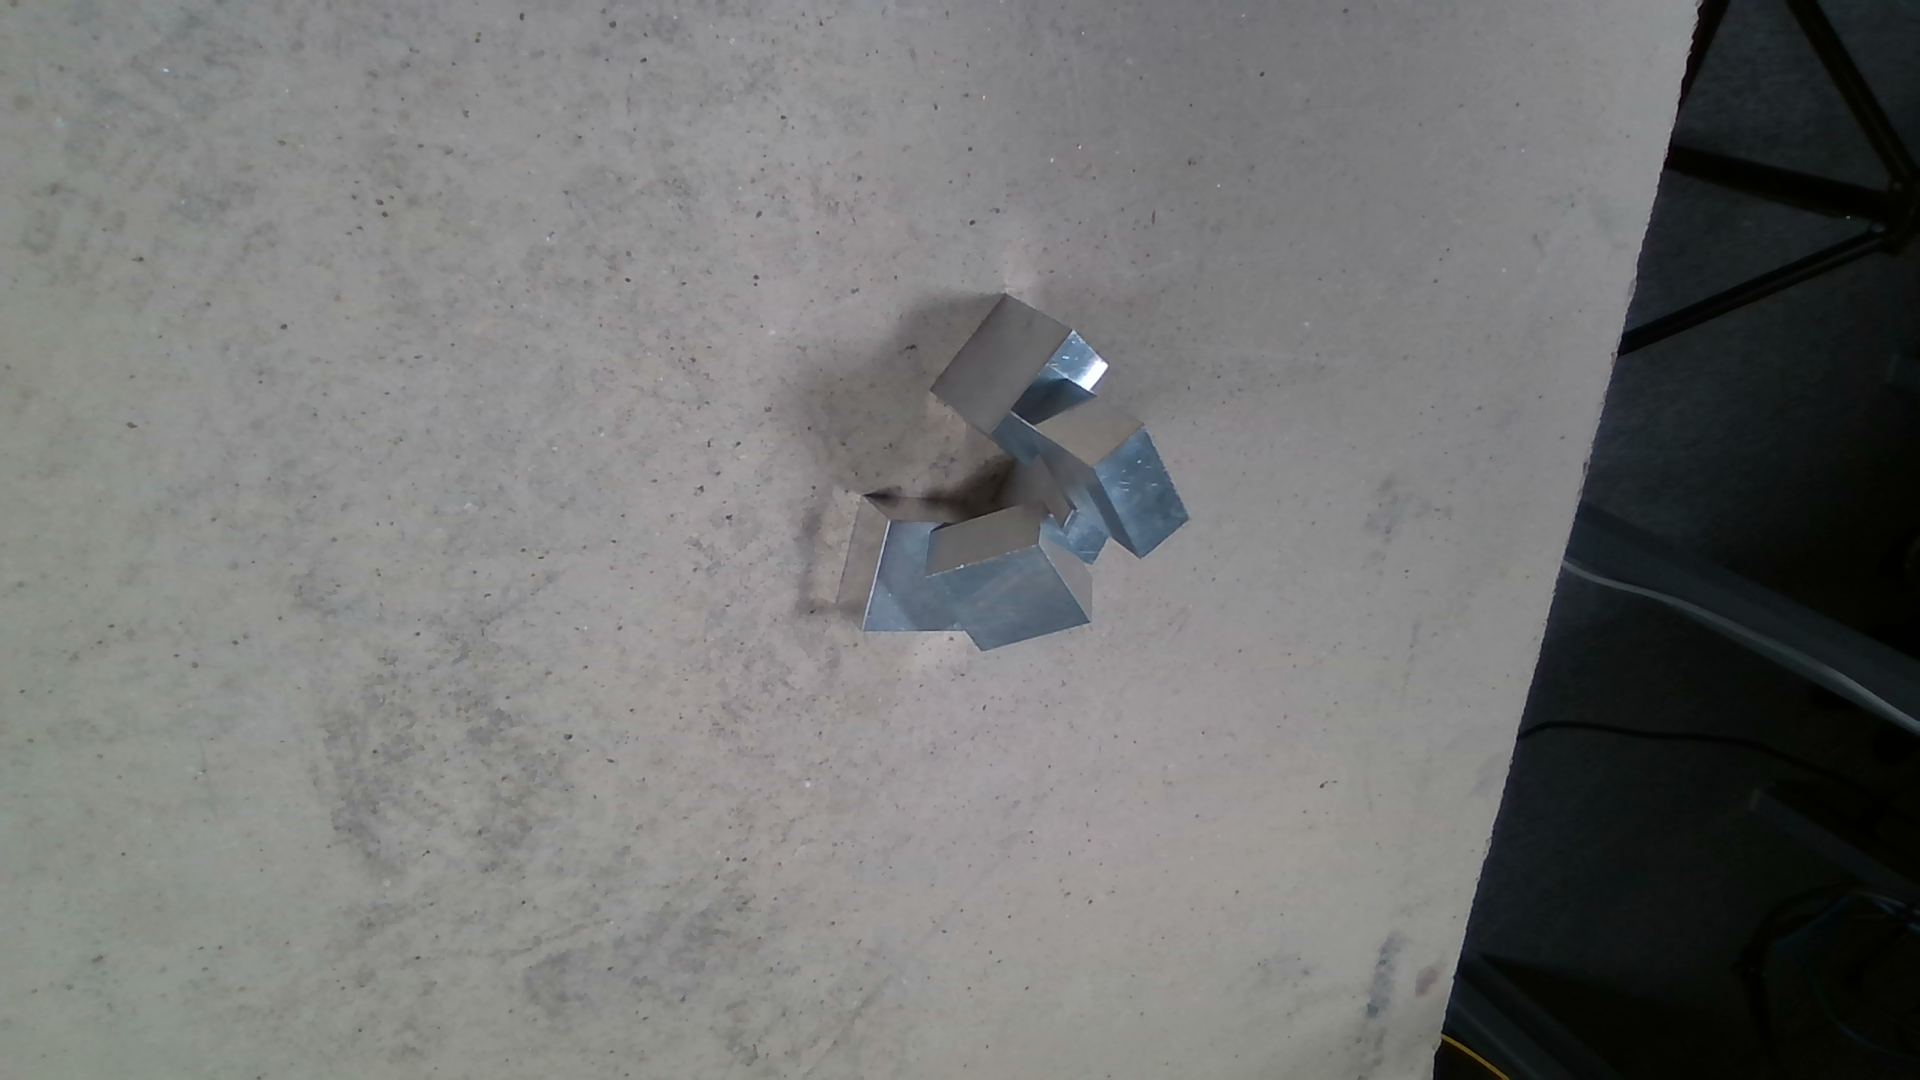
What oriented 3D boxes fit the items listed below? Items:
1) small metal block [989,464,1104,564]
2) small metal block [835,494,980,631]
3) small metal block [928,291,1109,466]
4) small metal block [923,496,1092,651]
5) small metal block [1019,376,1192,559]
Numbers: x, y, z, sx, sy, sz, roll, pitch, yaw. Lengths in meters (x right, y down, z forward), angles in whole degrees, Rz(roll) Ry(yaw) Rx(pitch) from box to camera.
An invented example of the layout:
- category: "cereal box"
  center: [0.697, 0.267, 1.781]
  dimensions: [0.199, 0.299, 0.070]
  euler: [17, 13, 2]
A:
- category: "small metal block"
  center: [0.046, -0.025, 0.579]
  dimensions: [0.025, 0.050, 0.050]
  euler: [20, 103, -37]
- category: "small metal block"
  center: [-0.019, 0.010, 0.574]
  dimensions: [0.050, 0.025, 0.050]
  euler: [2, 114, -32]
- category: "small metal block"
  center: [0.022, -0.065, 0.544]
  dimensions: [0.050, 0.050, 0.025]
  euler: [-51, 129, 2]
- category: "small metal block"
  center: [0.020, 0.014, 0.553]
  dimensions: [0.050, 0.025, 0.050]
  euler: [-17, 132, 22]
- category: "small metal block"
  center: [0.055, -0.028, 0.519]
  dimensions: [0.025, 0.050, 0.050]
  euler: [-39, 129, -8]
